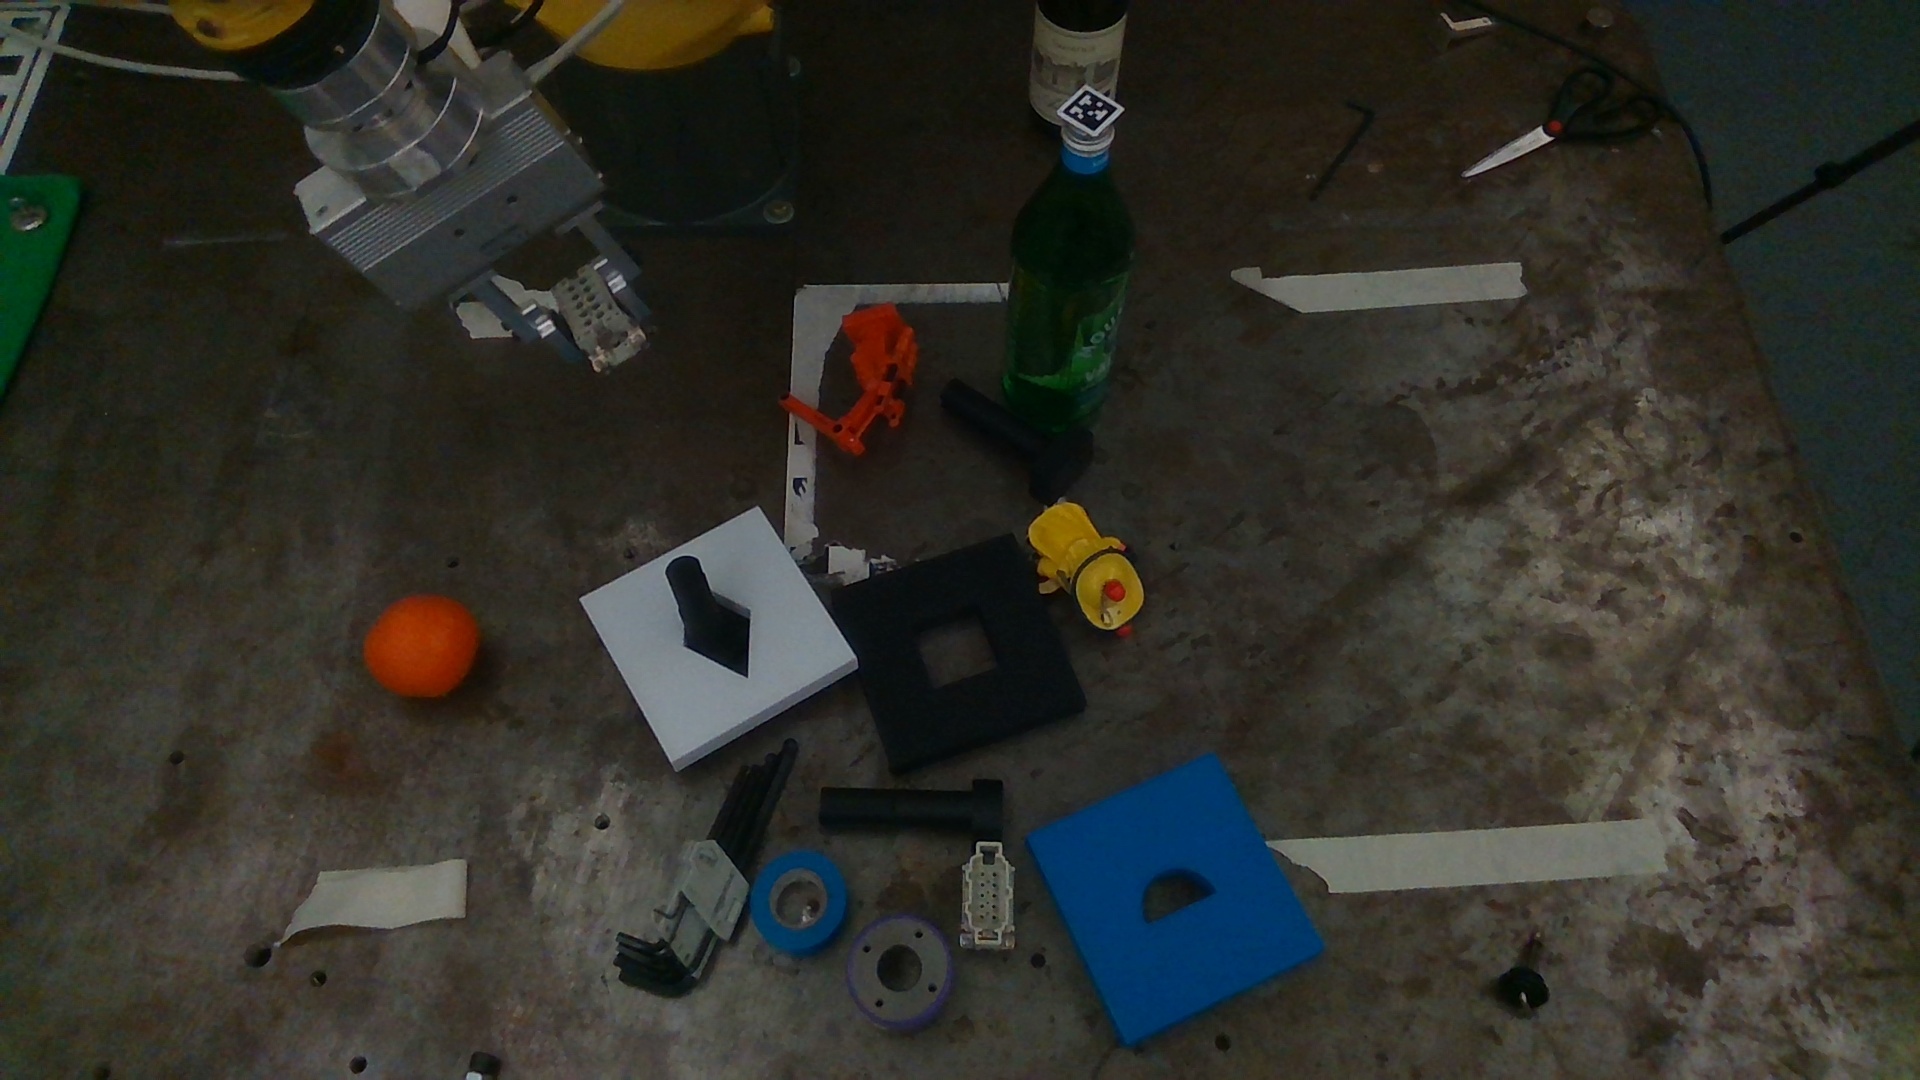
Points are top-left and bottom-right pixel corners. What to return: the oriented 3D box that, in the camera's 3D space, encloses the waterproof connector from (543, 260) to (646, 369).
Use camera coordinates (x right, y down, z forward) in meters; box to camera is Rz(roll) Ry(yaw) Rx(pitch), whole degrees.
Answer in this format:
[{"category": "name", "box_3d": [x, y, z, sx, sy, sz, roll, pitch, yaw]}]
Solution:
[{"category": "waterproof connector", "box_3d": [-0.220, -0.135, 0.834, 0.037, 0.038, 0.069, -34, 69, -3]}]
